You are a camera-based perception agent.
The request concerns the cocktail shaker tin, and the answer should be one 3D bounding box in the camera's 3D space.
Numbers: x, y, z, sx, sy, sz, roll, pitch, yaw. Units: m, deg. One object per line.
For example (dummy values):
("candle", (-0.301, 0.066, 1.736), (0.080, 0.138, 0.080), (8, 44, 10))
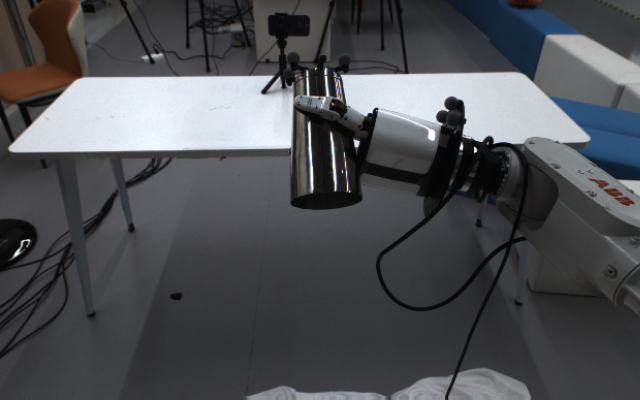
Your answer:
("cocktail shaker tin", (0.003, -0.080, 0.632), (0.093, 0.093, 0.170), (-3, 76, -8))
